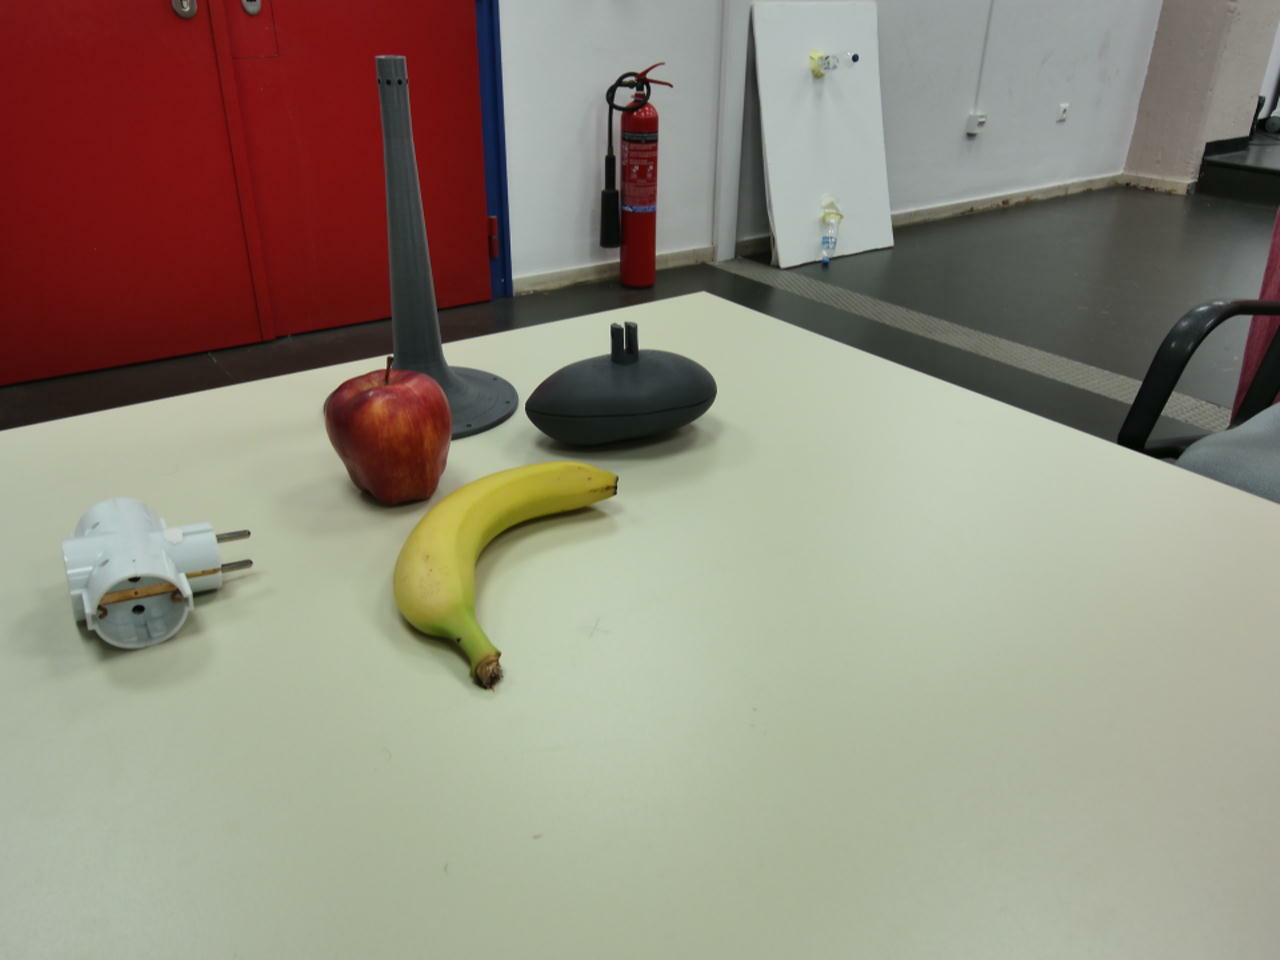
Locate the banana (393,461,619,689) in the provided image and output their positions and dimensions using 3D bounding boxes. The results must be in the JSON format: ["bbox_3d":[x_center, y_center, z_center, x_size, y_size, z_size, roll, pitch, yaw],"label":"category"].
[{"bbox_3d":[-0.084,0.036,0.565,0.094,0.041,0.196,9,27,16],"label":"banana"}]
